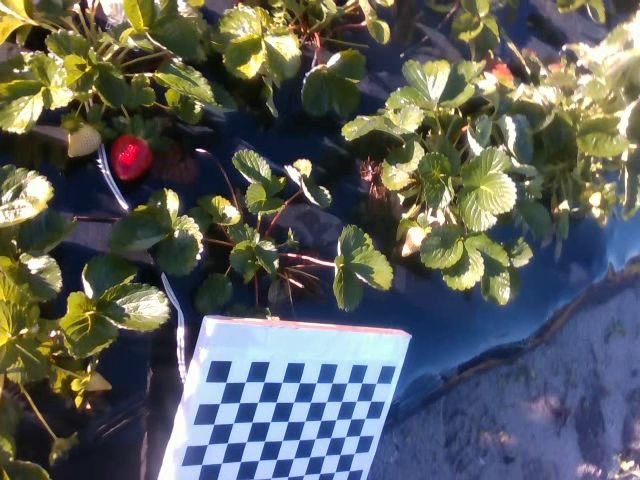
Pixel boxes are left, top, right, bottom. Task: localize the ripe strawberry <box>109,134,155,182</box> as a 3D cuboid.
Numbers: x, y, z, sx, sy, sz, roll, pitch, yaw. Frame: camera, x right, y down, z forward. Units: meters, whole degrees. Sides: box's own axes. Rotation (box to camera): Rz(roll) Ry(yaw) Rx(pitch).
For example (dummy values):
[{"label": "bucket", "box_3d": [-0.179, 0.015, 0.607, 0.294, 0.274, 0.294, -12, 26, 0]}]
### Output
[{"label": "ripe strawberry", "box_3d": [-0.230, -0.103, 0.778, 0.040, 0.080, 0.063, -21, -47, 28]}]
